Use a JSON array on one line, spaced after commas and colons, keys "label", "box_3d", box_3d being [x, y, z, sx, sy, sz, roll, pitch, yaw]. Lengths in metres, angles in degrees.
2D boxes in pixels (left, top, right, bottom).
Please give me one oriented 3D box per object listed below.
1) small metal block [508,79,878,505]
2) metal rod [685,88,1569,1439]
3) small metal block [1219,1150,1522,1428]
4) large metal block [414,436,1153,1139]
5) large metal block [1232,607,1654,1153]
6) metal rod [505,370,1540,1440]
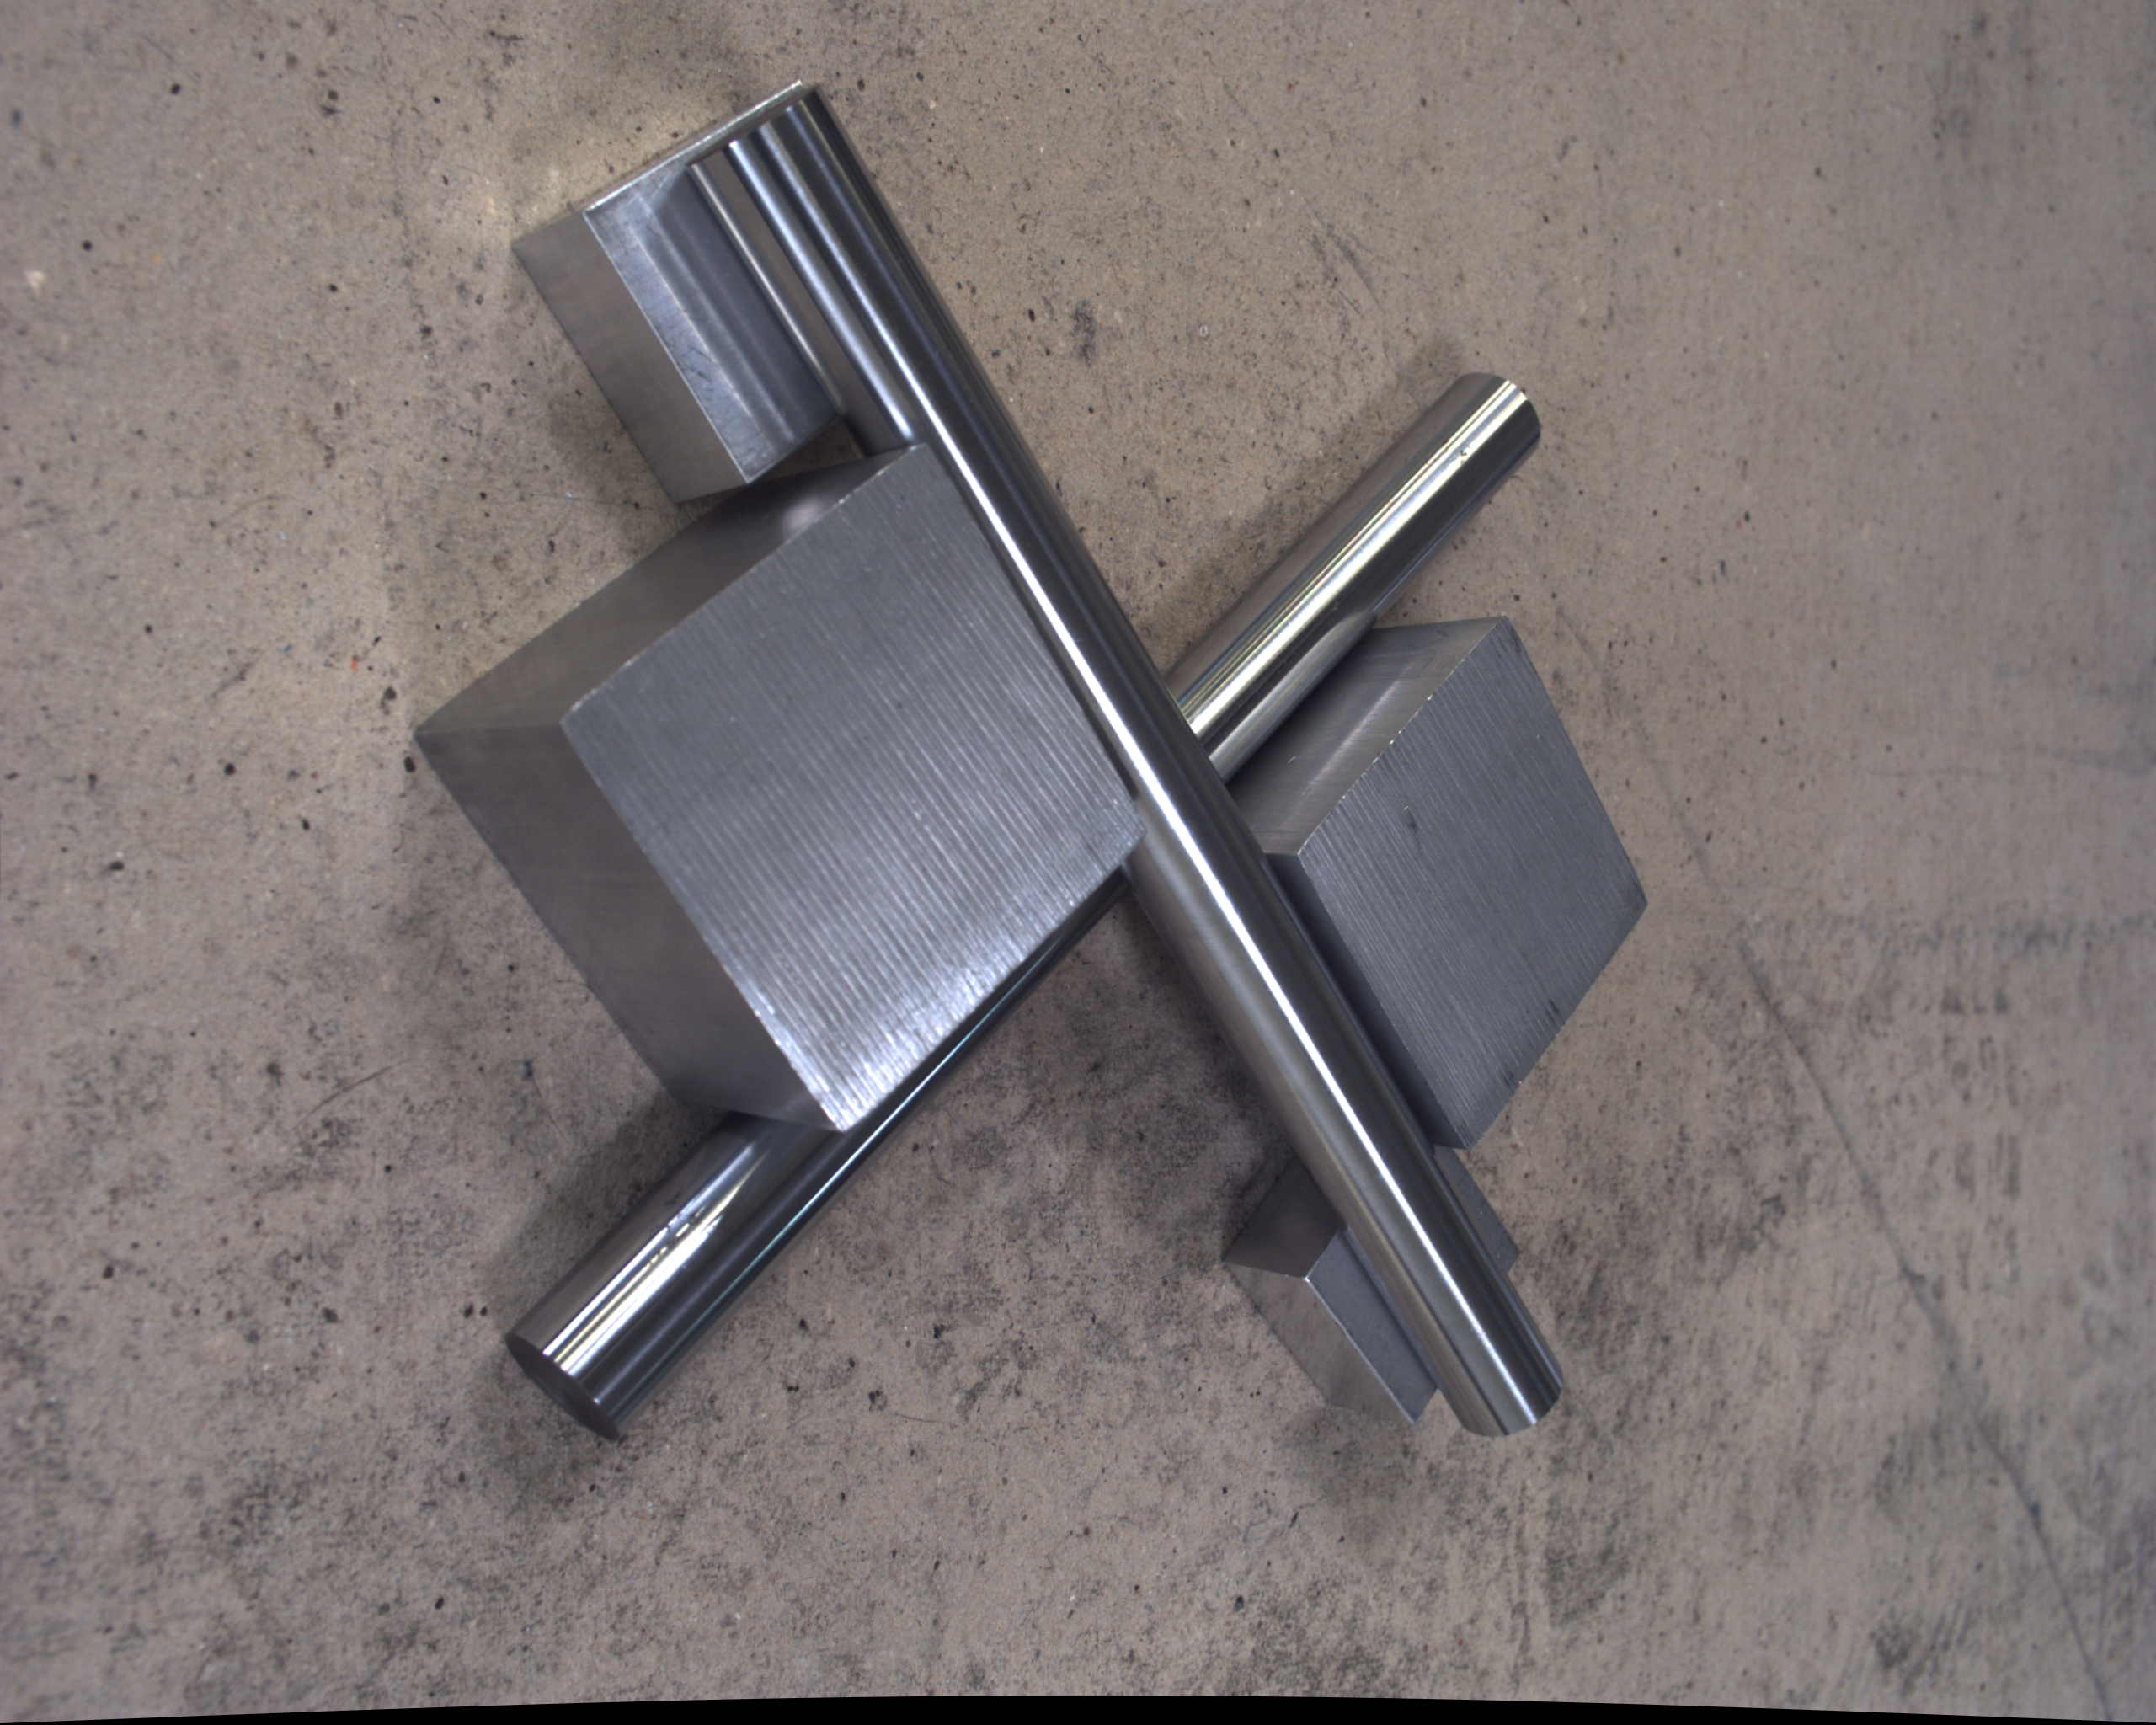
[{"label": "small metal block", "box_3d": [-0.059, -0.097, 0.357, 0.050, 0.025, 0.050, -45, 117, -31]}, {"label": "metal rod", "box_3d": [0.021, 0.000, 0.390, 0.025, 0.025, 0.299, -47, 118, -30]}, {"label": "small metal block", "box_3d": [0.066, 0.087, 0.462, 0.050, 0.025, 0.050, -51, 120, -28]}, {"label": "large metal block", "box_3d": [-0.046, -0.013, 0.349, 0.080, 0.050, 0.080, -45, 117, -31]}, {"label": "large metal block", "box_3d": [0.069, 0.003, 0.447, 0.080, 0.050, 0.080, -47, 118, -30]}, {"label": "metal rod", "box_3d": [0.007, -0.010, 0.412, 0.301, 0.025, 0.025, -46, 118, -30]}]
